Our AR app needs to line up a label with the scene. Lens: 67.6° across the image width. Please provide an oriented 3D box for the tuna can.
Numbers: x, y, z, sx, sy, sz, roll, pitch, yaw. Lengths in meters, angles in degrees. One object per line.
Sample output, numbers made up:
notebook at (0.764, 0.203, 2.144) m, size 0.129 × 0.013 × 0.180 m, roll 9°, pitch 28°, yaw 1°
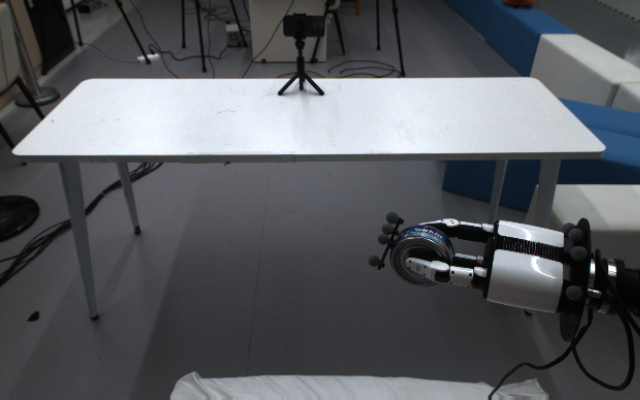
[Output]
tuna can at (0.145, 0.077, 0.679) m, size 0.085 × 0.085 × 0.034 m, roll 12°, pitch 29°, yaw 14°
